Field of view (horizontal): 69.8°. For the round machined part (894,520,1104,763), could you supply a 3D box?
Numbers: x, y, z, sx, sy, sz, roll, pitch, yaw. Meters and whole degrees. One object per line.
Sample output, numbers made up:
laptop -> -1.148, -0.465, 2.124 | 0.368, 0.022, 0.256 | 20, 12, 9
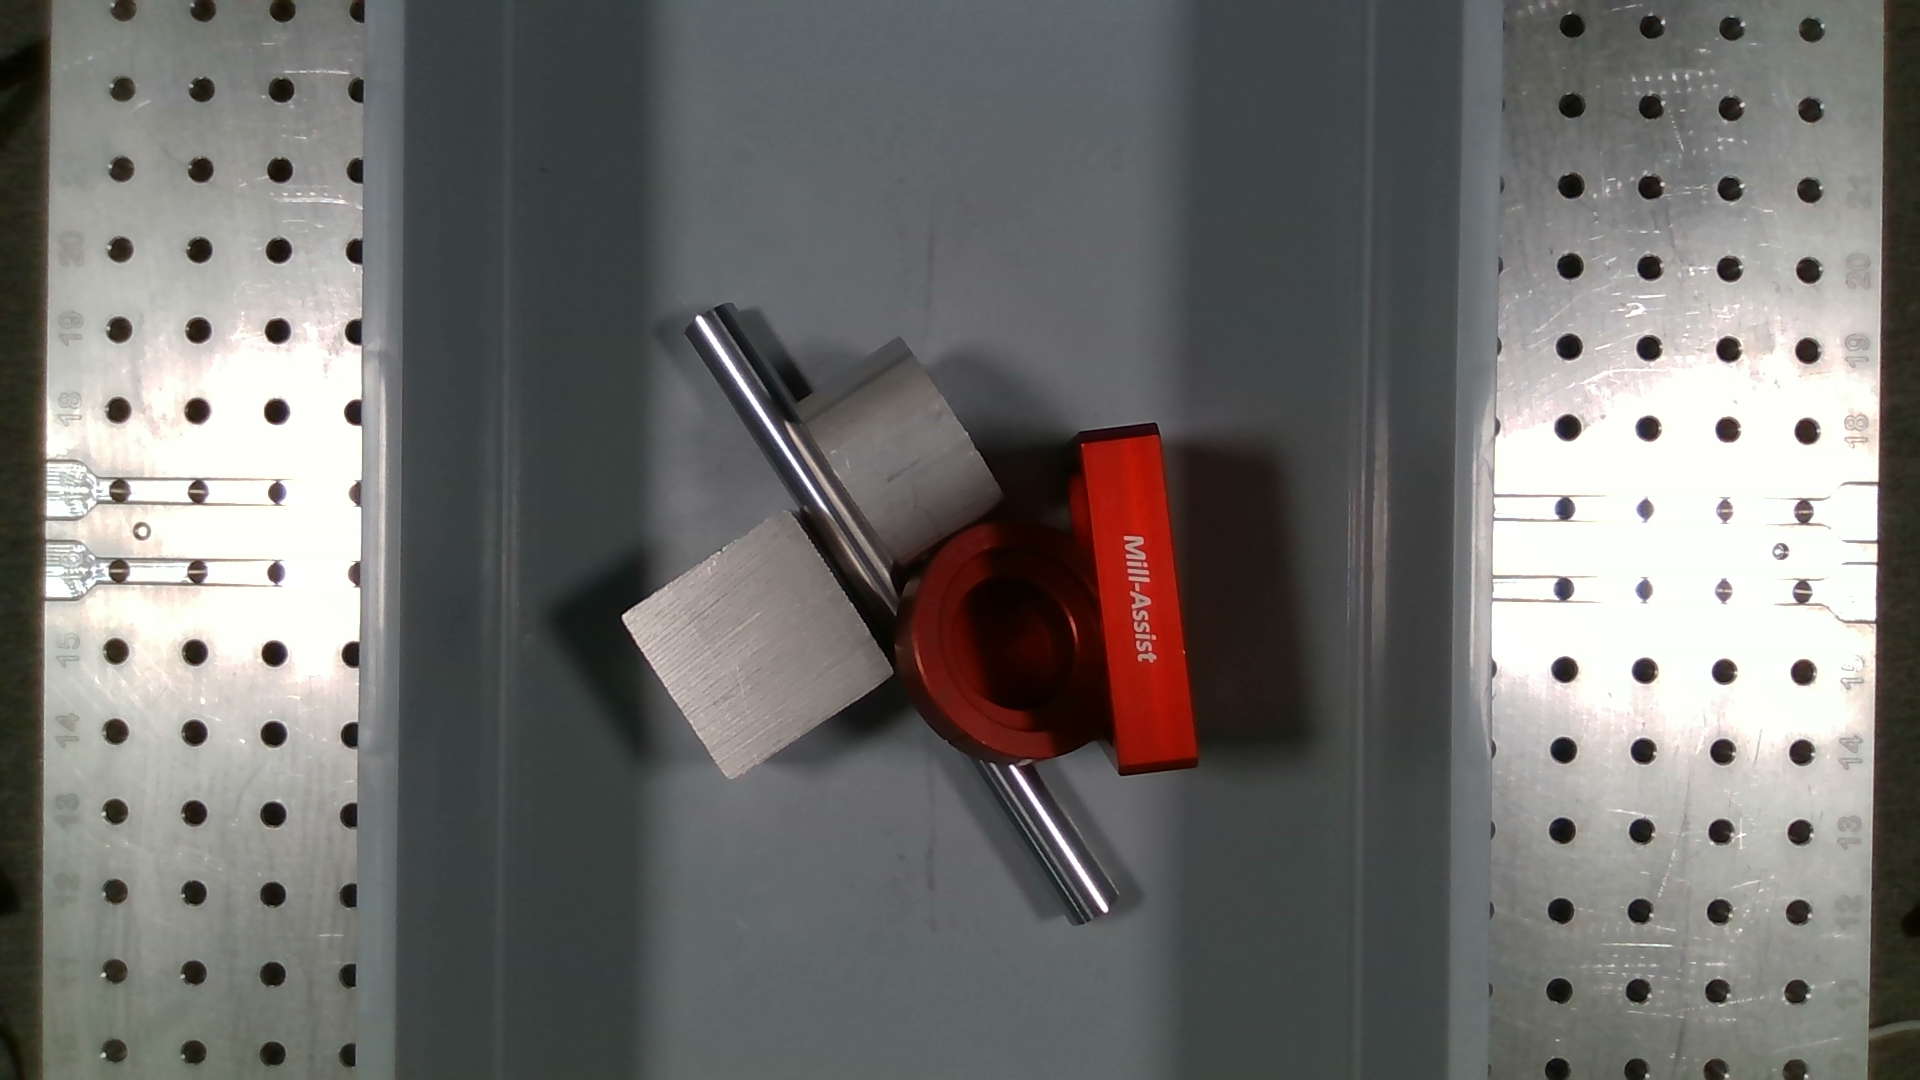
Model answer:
round machined part -> 0.018, 0.044, 0.564 | 0.098, 0.042, 0.098 | 7, 73, -23

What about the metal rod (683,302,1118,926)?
metal rod -> -0.025, 0.032, 0.586 | 0.025, 0.025, 0.300 | -33, 90, 0

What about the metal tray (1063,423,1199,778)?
metal tray -> 0.066, 0.022, 0.553 | 0.030, 0.090, 0.130 | -7, 91, 0

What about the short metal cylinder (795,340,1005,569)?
short metal cylinder -> -0.024, -0.035, 0.558 | 0.050, 0.080, 0.080 | -34, 90, 0

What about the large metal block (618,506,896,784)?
large metal block -> -0.080, 0.042, 0.572 | 0.080, 0.050, 0.080 | -33, 90, 0
